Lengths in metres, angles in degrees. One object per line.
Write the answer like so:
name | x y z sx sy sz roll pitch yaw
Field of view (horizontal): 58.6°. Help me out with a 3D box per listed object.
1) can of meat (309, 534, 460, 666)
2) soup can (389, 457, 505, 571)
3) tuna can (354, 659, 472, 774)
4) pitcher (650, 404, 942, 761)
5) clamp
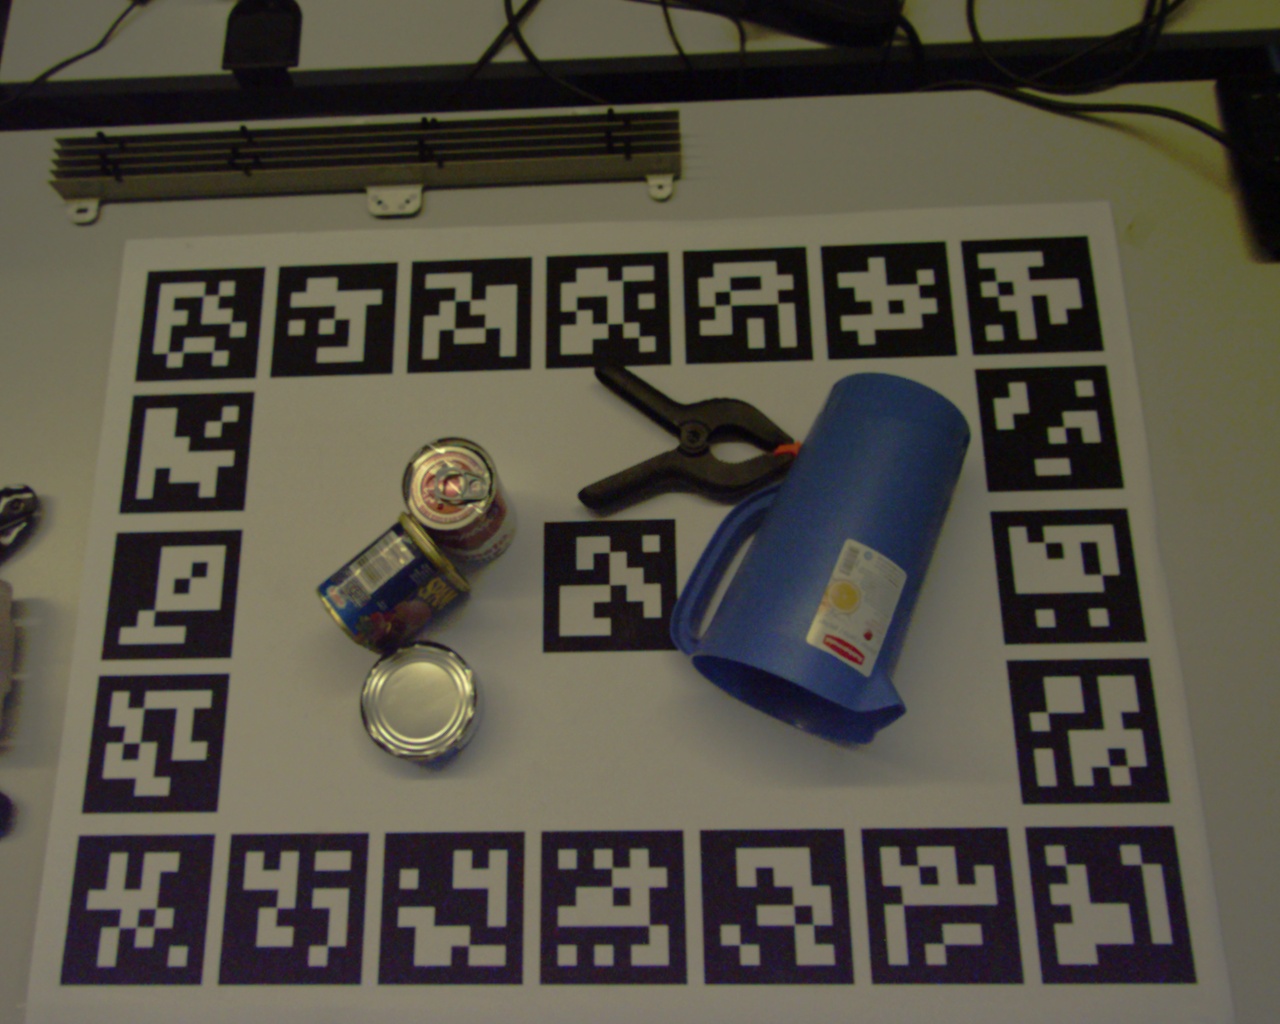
can of meat | -0.193 0.070 0.862 0.083 0.101 0.058 -37 77 -4
soup can | -0.147 0.004 0.882 0.068 0.101 0.068 -1 76 5
tuna can | -0.173 0.157 0.873 0.086 0.033 0.086 -1 76 3
pitcher | 0.122 0.044 0.832 0.191 0.132 0.242 13 67 30
clamp | 0.011 -0.044 0.929 0.165 0.036 0.122 2 70 1
